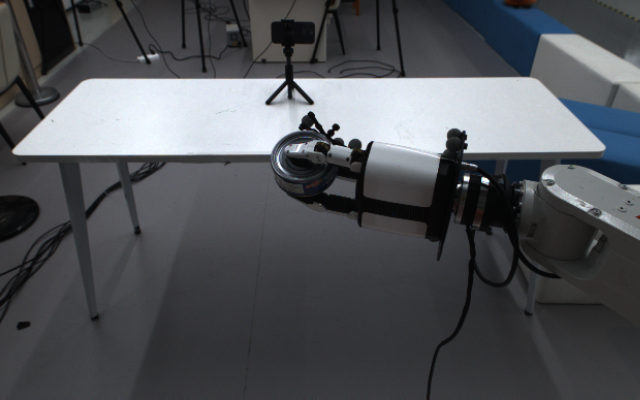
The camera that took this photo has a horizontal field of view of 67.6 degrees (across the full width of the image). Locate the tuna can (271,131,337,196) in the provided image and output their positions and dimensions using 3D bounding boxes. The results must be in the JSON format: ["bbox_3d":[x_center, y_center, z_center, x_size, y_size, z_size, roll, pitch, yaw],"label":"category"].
[{"bbox_3d":[-0.019,-0.050,0.629,0.085,0.034,0.085,-4,58,6],"label":"tuna can"}]
